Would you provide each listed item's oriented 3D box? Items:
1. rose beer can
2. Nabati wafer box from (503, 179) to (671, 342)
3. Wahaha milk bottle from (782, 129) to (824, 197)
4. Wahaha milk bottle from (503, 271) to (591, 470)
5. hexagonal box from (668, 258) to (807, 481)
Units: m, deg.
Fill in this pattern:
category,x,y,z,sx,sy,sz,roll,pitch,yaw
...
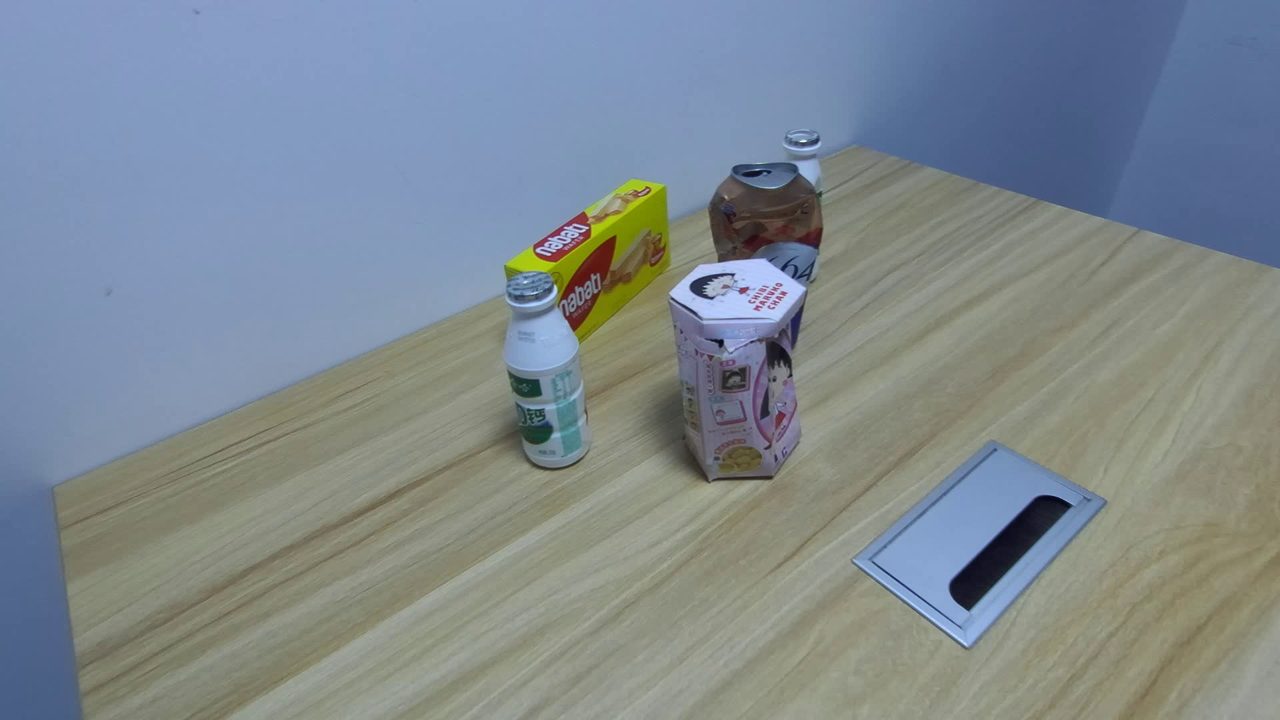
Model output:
category,x,y,z,sx,sy,sz,roll,pitch,yaw
rose beer can,0.101,-0.079,0.583,0.074,0.162,0.067,-27,42,-30
Nabati wafer box,-0.039,-0.090,0.674,0.042,0.093,0.203,19,43,29
Wahaha milk bottle,0.151,-0.141,0.676,0.056,0.148,0.056,-1,31,1
Wahaha milk bottle,-0.067,0.009,0.500,0.053,0.147,0.053,-3,35,3
hexagonal box,0.066,0.009,0.494,0.091,0.135,0.090,-14,35,-10
